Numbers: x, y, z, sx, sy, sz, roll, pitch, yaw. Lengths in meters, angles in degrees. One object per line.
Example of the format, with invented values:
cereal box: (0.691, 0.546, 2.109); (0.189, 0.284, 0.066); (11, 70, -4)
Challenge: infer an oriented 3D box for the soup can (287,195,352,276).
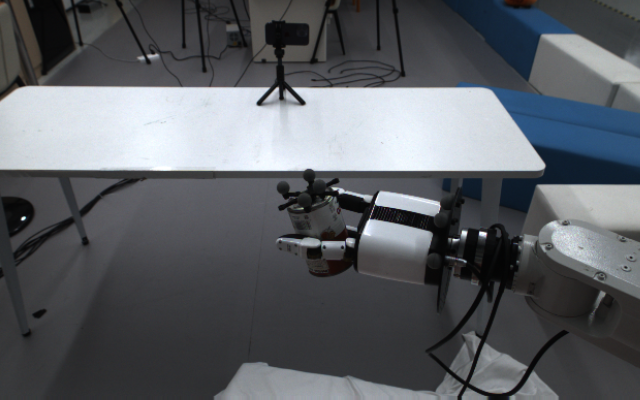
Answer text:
soup can: (0.004, 0.041, 0.640); (0.067, 0.101, 0.067); (-16, 23, 7)
